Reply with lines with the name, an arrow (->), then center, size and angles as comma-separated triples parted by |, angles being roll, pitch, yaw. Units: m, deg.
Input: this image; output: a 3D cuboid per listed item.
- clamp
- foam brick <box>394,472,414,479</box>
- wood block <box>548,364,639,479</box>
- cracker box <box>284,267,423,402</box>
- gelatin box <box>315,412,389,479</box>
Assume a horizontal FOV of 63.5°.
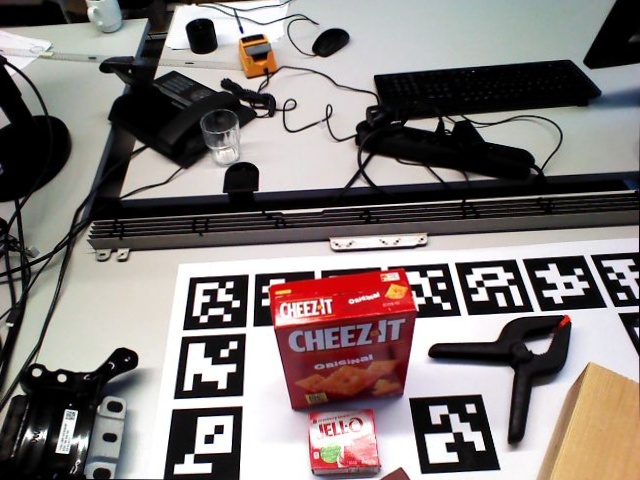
clamp -> 0.290, 0.164, 0.716 | 0.202, 0.037, 0.165 | -29, 56, -17
foam brick -> 0.083, 0.318, 0.604 | 0.078, 0.051, 0.052 | -24, 56, -13
wood block -> 0.332, 0.265, 0.605 | 0.090, 0.091, 0.205 | 24, 55, 24
cracker box -> 0.045, 0.125, 0.649 | 0.164, 0.214, 0.071 | -6, 51, -2
gelatin box -> 0.040, 0.265, 0.666 | 0.089, 0.030, 0.073 | -5, 54, 1
